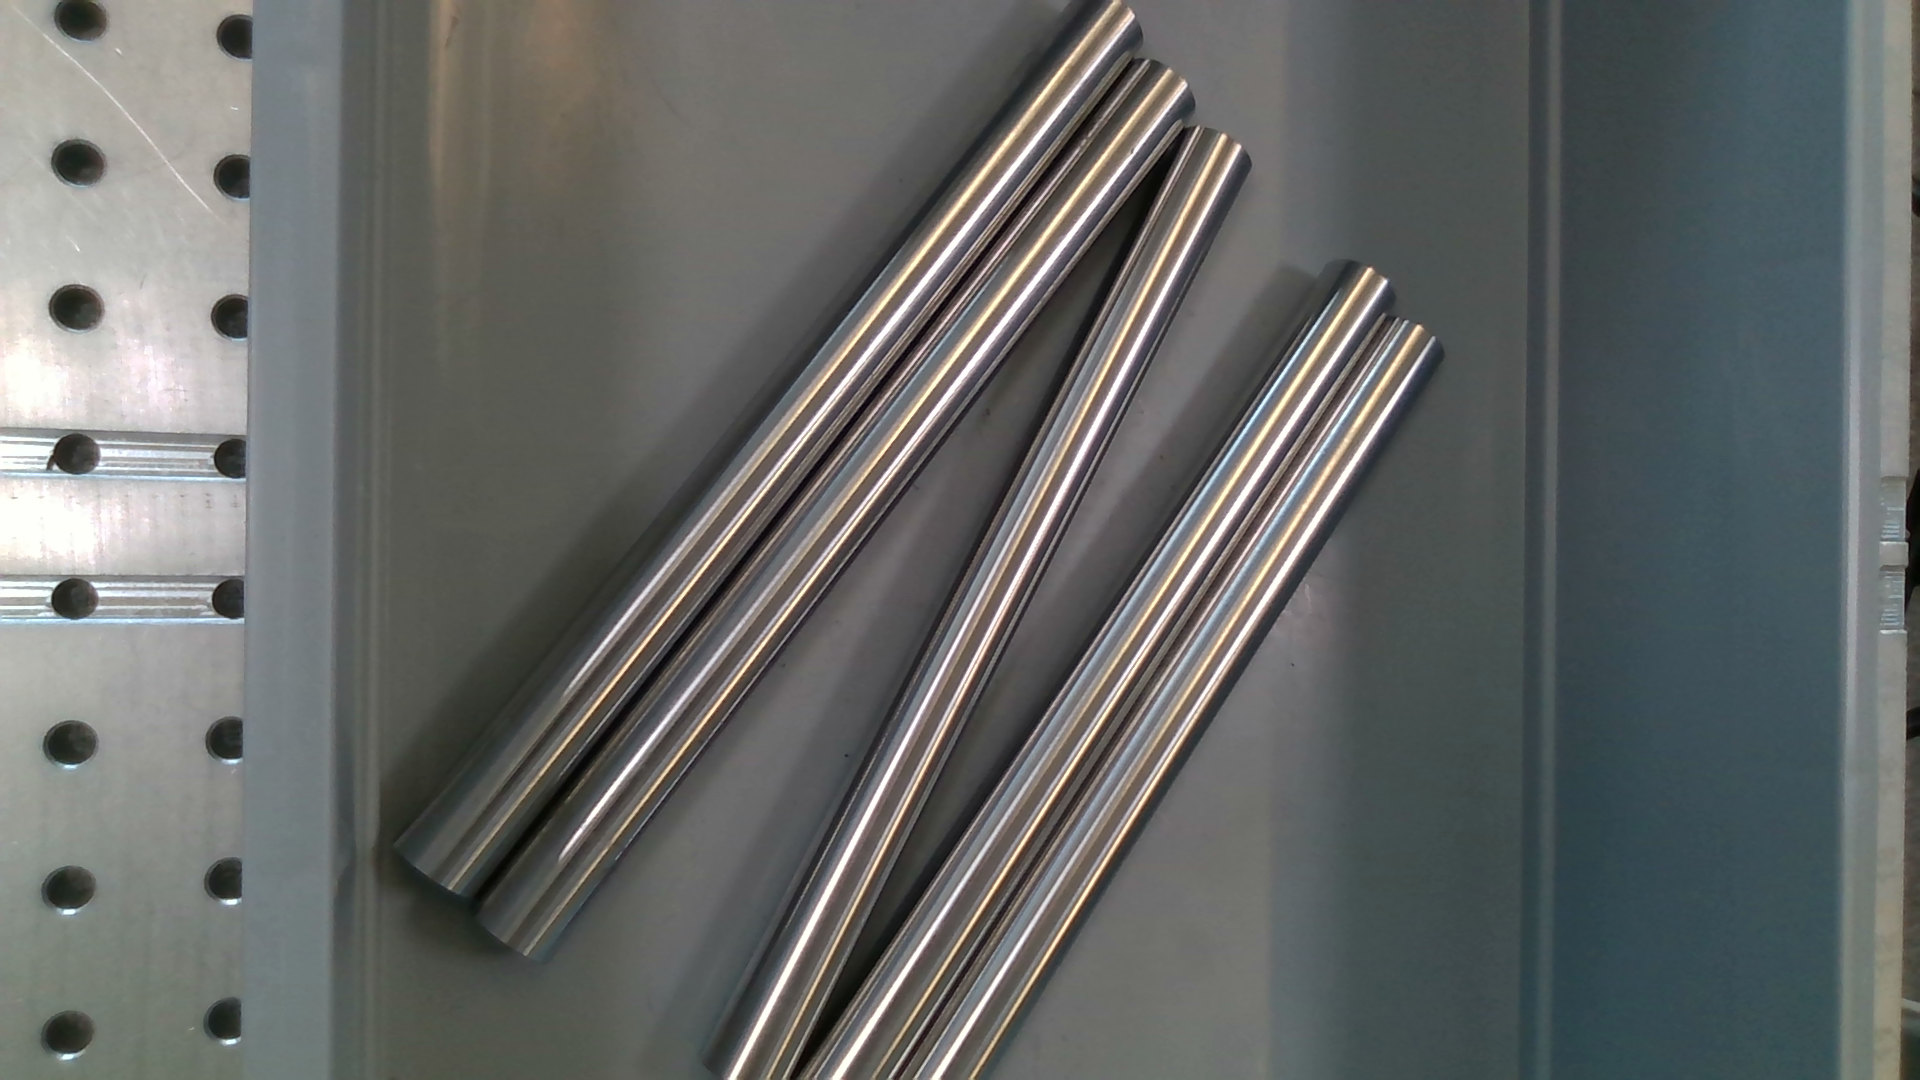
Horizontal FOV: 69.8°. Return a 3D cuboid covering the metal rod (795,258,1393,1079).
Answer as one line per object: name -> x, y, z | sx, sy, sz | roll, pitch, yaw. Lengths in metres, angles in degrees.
metal rod -> 0.043, 0.039, 0.409 | 0.025, 0.025, 0.300 | 38, 78, -16

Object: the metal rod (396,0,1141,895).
metal rod -> -0.044, -0.036, 0.377 | 0.025, 0.025, 0.300 | 40, 77, -16

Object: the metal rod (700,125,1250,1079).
metal rod -> 0.009, 0.012, 0.397 | 0.025, 0.025, 0.300 | 30, 80, -18

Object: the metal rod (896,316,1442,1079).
metal rod -> 0.060, 0.056, 0.416 | 0.025, 0.025, 0.300 | 38, 78, -16

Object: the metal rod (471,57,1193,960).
metal rod -> -0.027, -0.018, 0.383 | 0.025, 0.025, 0.300 | 40, 77, -16
